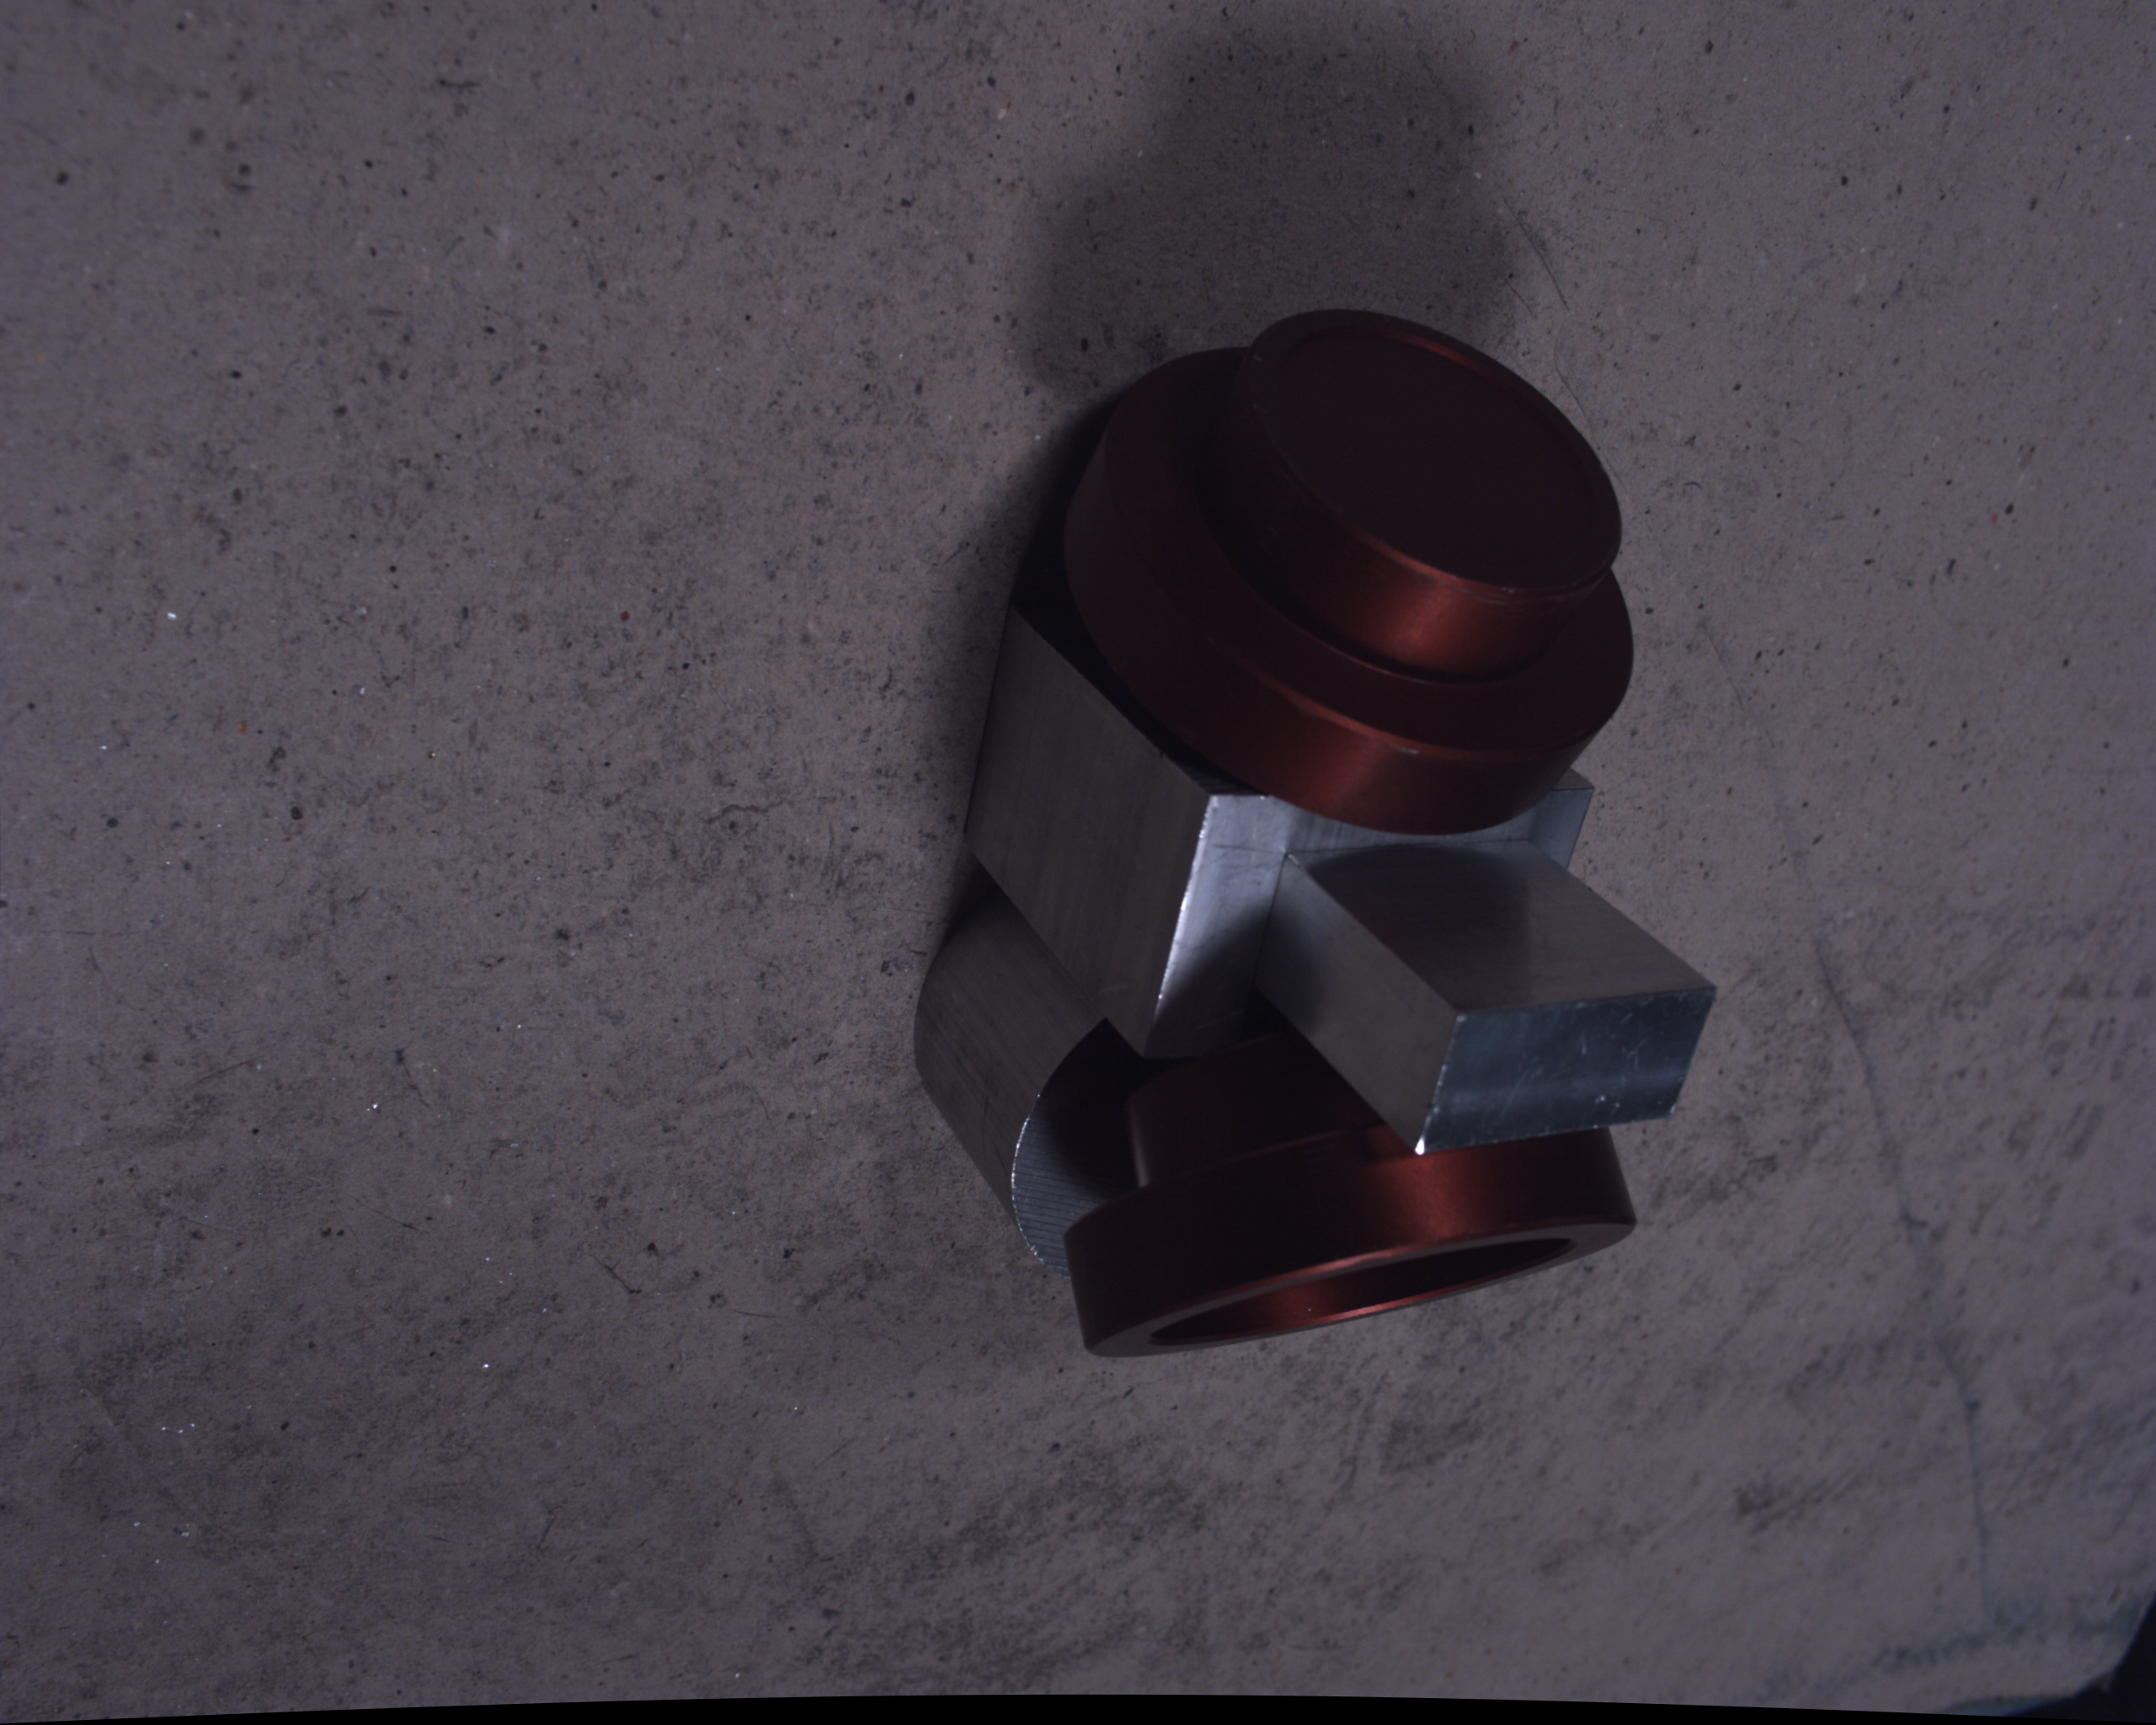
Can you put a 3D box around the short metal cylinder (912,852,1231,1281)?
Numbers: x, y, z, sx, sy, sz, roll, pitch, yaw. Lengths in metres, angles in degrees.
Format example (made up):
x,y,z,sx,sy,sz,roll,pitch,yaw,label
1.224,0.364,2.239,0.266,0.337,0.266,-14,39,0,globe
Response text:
x,y,z,sx,sy,sz,roll,pitch,yaw,label
0.013,0.041,0.427,0.081,0.050,0.079,-14,125,-21,short metal cylinder

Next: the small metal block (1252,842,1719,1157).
x,y,z,sx,sy,sz,roll,pitch,yaw,label
0.064,0.020,0.337,0.050,0.050,0.025,-3,119,-27,small metal block

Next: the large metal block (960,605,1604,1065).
x,y,z,sx,sy,sz,roll,pitch,yaw,label
0.034,-0.008,0.387,0.081,0.080,0.050,-2,120,-28,large metal block

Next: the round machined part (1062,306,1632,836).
x,y,z,sx,sy,sz,roll,pitch,yaw,label
0.051,-0.055,0.351,0.099,0.098,0.042,-2,145,-28,round machined part

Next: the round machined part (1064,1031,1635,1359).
x,y,z,sx,sy,sz,roll,pitch,yaw,label
0.045,0.057,0.373,0.099,0.042,0.098,-11,161,-4,round machined part
